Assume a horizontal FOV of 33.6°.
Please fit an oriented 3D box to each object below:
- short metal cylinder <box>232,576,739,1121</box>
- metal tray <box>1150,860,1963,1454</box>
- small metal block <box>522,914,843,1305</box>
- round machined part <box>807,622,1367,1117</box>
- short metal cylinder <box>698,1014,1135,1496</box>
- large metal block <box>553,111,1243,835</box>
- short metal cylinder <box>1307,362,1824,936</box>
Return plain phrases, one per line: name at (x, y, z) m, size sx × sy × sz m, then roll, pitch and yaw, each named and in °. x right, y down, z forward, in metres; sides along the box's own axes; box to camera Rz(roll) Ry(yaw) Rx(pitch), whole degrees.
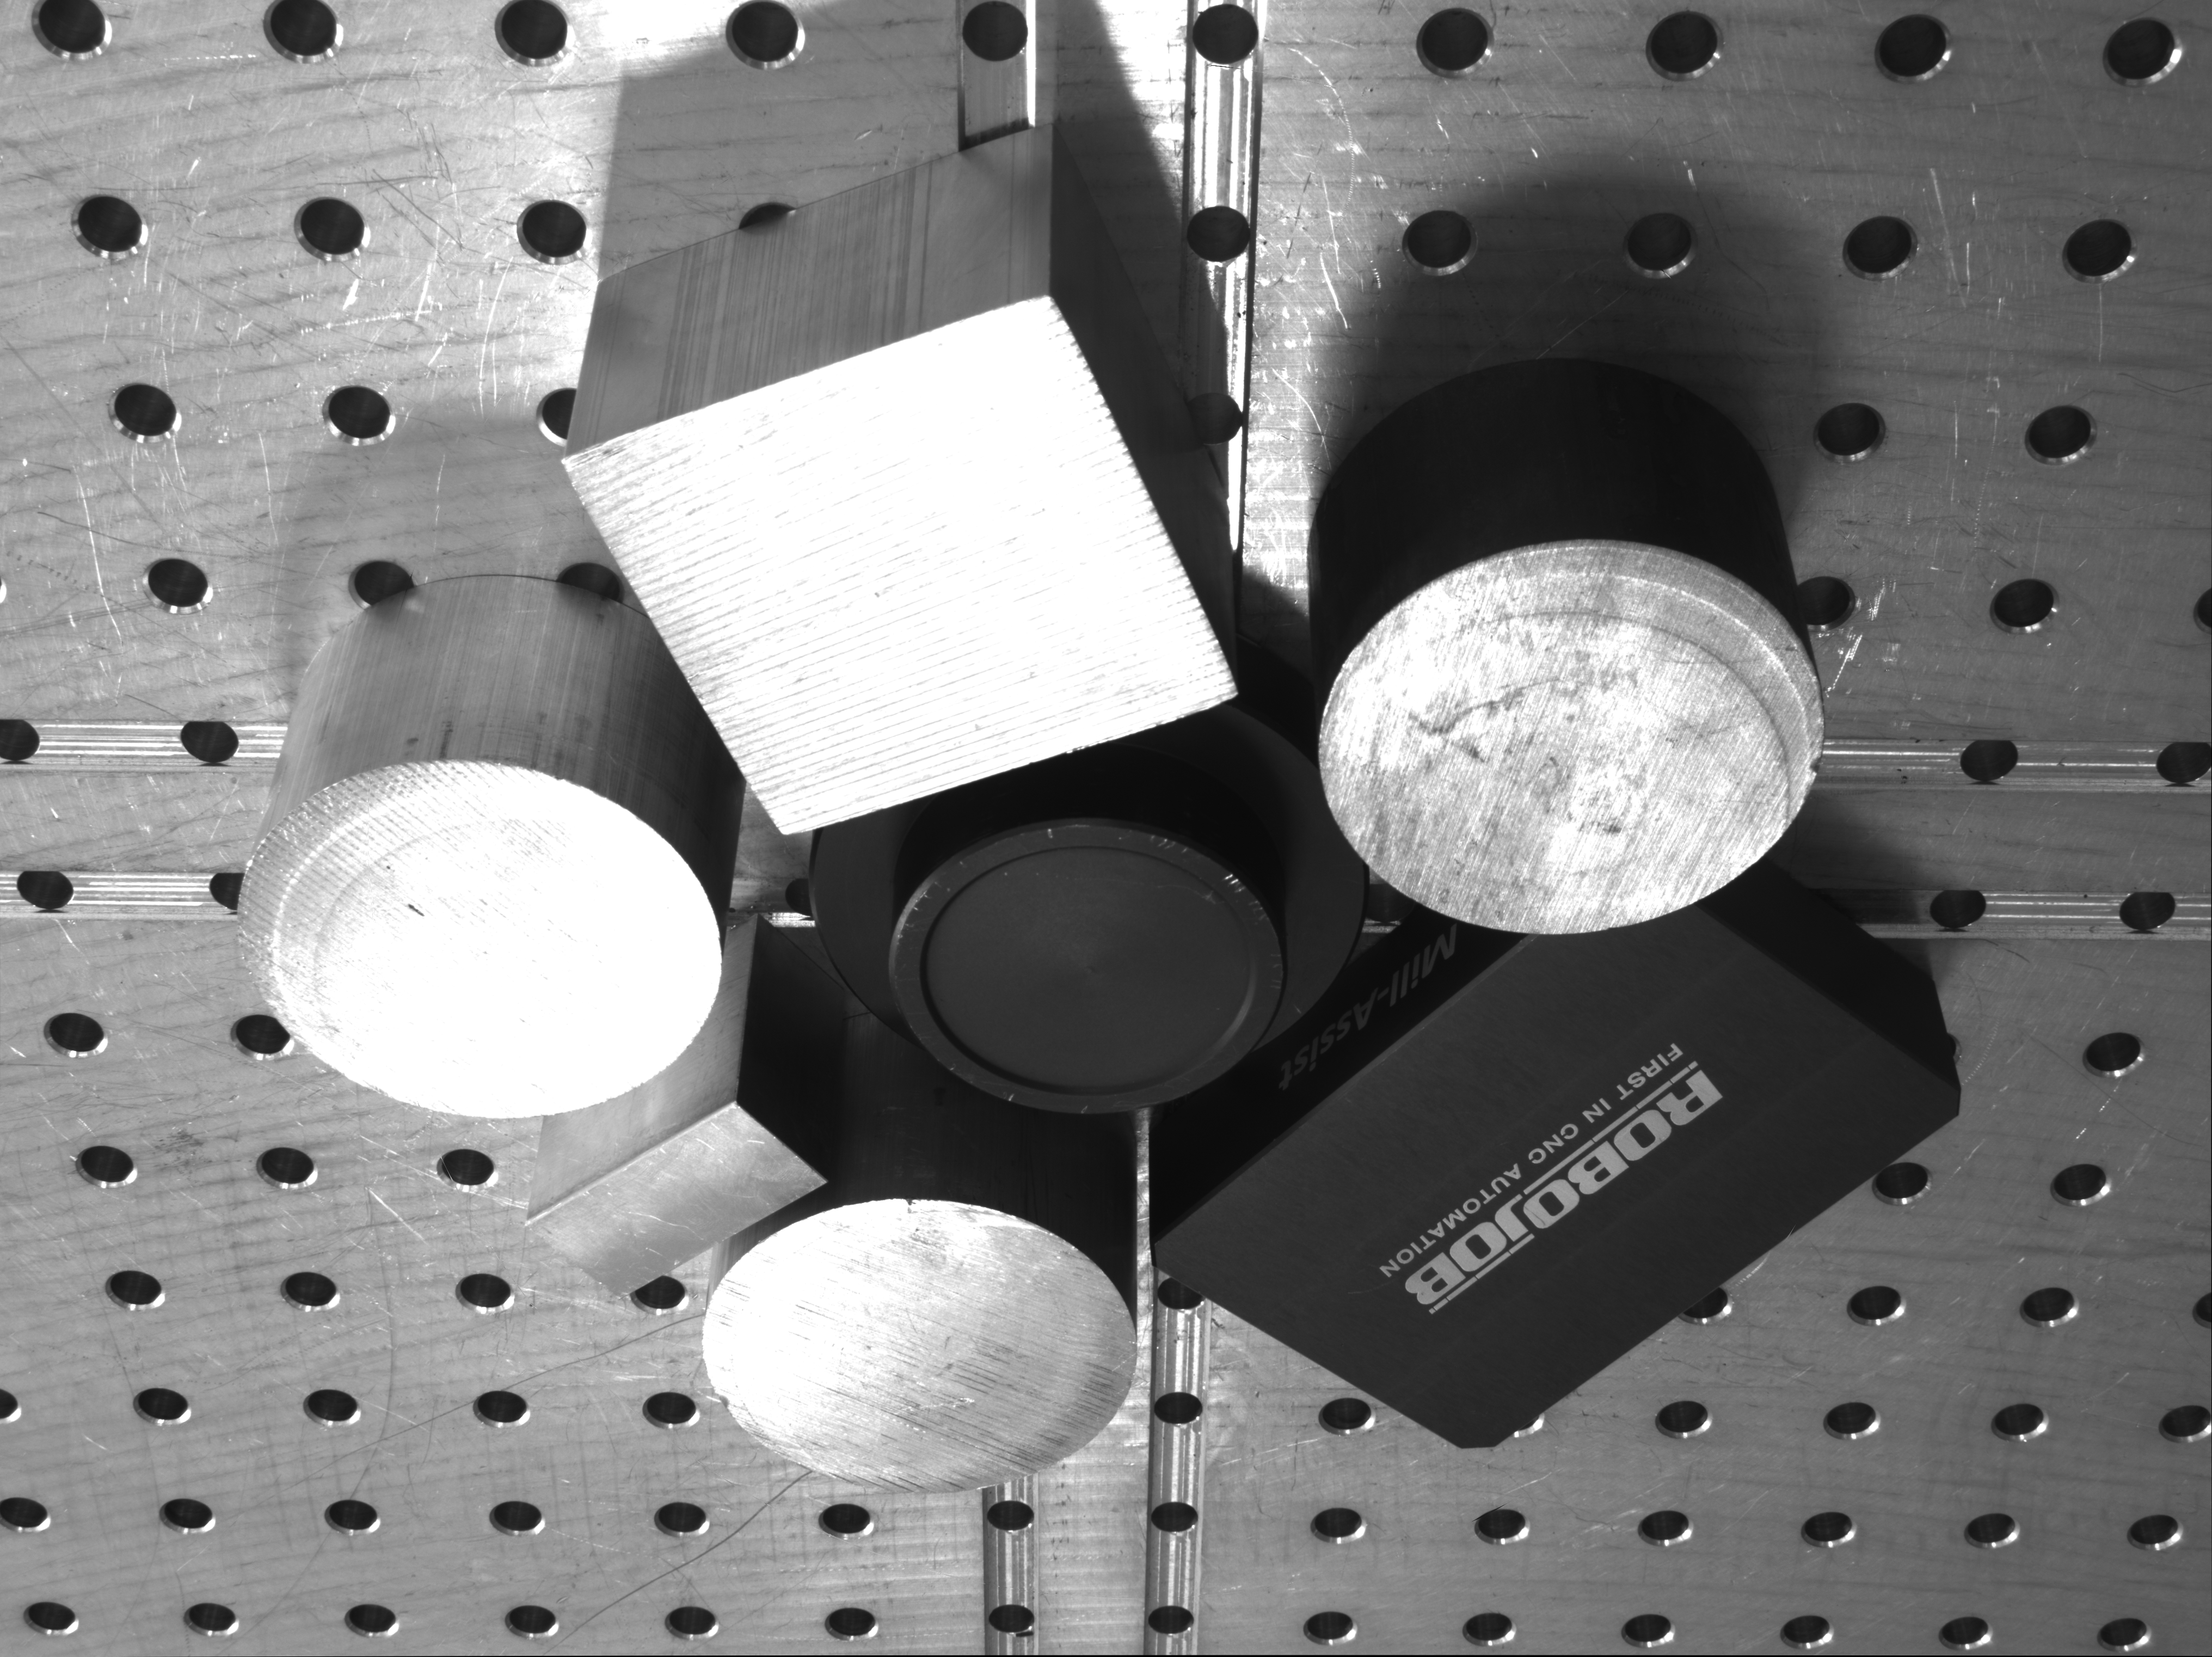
short metal cylinder at (-0.104, 0.004, 0.628) m, size 0.080 × 0.050 × 0.080 m, roll 0°, pitch 130°, yaw 0°
metal tray at (0.082, 0.056, 0.685) m, size 0.090 × 0.030 × 0.130 m, roll 33°, pitch 122°, yaw -24°
small metal block at (-0.076, 0.051, 0.667) m, size 0.050 × 0.050 × 0.025 m, roll -30°, pitch 123°, yaw 23°
round machined part at (-0.003, 0.012, 0.640) m, size 0.098 × 0.042 × 0.098 m, roll 0°, pitch 130°, yaw 0°
short metal cylinder at (-0.035, 0.080, 0.692) m, size 0.080 × 0.050 × 0.080 m, roll 0°, pitch 130°, yaw 0°
large metal block at (-0.030, -0.055, 0.580) m, size 0.080 × 0.050 × 0.080 m, roll -17°, pitch 128°, yaw 14°
short metal cylinder at (0.074, -0.029, 0.601) m, size 0.080 × 0.050 × 0.080 m, roll 0°, pitch 130°, yaw 0°
